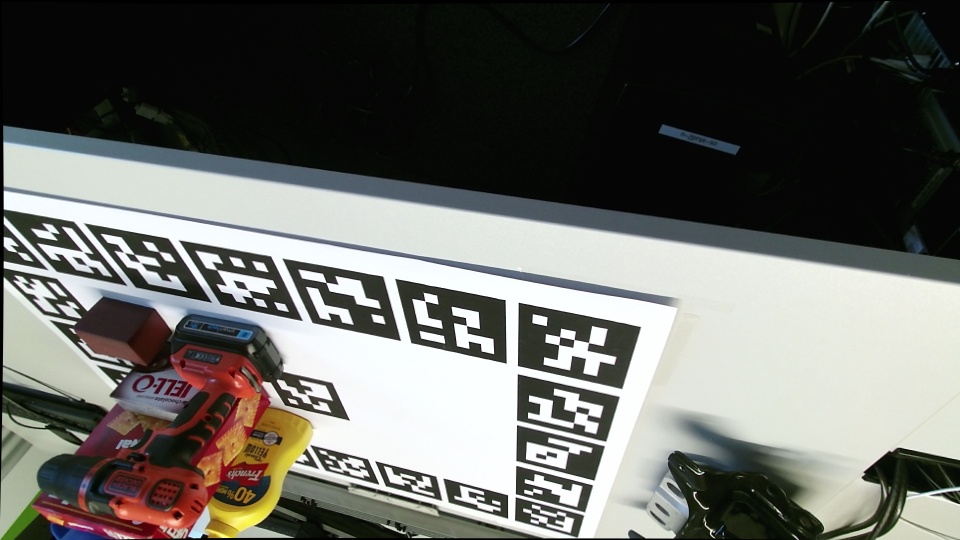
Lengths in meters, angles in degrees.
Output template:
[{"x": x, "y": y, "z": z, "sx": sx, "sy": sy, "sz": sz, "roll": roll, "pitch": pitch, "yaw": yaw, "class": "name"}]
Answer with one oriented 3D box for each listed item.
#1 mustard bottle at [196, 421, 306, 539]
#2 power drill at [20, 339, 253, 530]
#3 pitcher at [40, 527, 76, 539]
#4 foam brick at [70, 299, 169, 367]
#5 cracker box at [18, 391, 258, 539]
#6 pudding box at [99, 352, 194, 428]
[{"x": -0.322, "y": 0.305, "z": 0.725, "sx": 0.096, "sy": 0.191, "sz": 0.058, "roll": 18, "pitch": 135, "yaw": 2, "class": "mustard bottle"}, {"x": -0.348, "y": 0.165, "z": 0.565, "sx": 0.185, "sy": 0.186, "sz": 0.057, "roll": 9, "pitch": 138, "yaw": 13, "class": "power drill"}, {"x": -0.454, "y": 0.292, "z": 0.744, "sx": 0.189, "sy": 0.241, "sz": 0.133, "roll": 12, "pitch": 136, "yaw": 5, "class": "pitcher"}, {"x": -0.439, "y": 0.076, "z": 0.656, "sx": 0.078, "sy": 0.051, "sz": 0.053, "roll": 11, "pitch": 134, "yaw": 10, "class": "foam brick"}, {"x": -0.409, "y": 0.223, "z": 0.667, "sx": 0.165, "sy": 0.212, "sz": 0.072, "roll": 6, "pitch": 136, "yaw": 11, "class": "cracker box"}, {"x": -0.390, "y": 0.153, "z": 0.668, "sx": 0.114, "sy": 0.089, "sz": 0.039, "roll": 8, "pitch": 136, "yaw": 8, "class": "pudding box"}]
